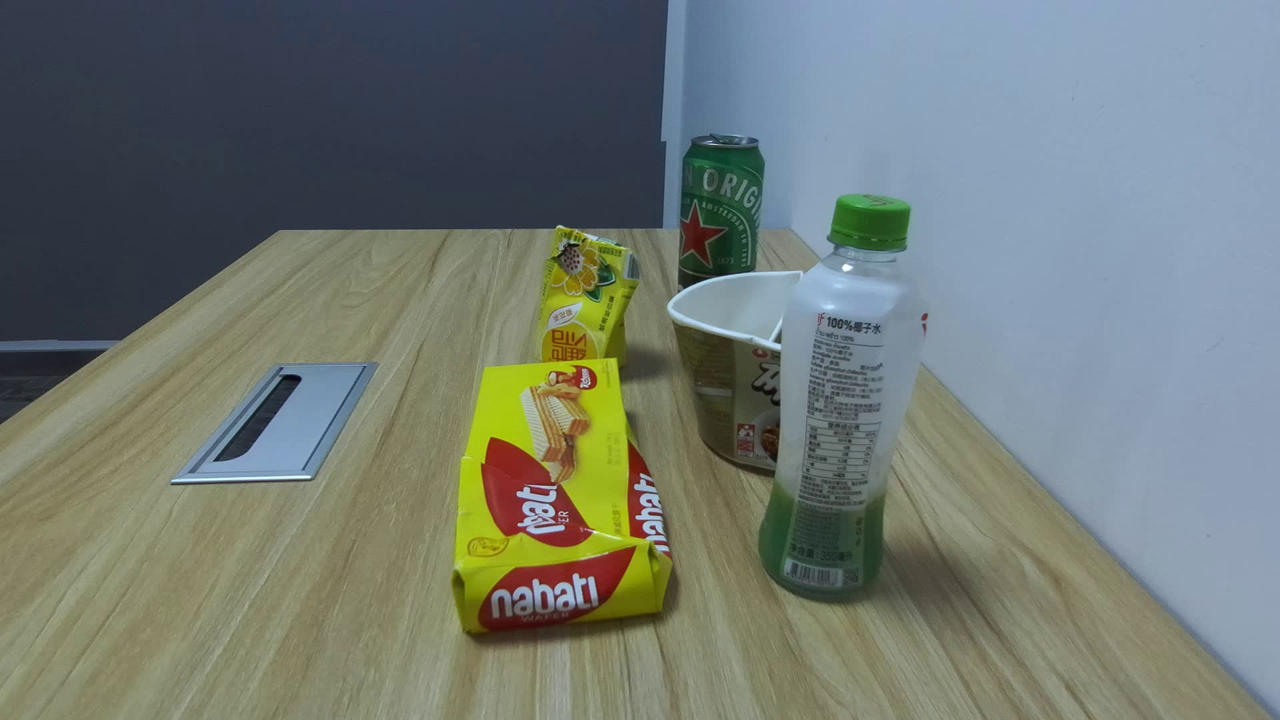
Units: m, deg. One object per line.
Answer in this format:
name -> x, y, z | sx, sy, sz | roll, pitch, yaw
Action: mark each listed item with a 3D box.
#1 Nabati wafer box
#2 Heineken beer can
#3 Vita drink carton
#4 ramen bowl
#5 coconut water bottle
Nabati wafer box -> -0.045, 0.065, 0.407 | 0.107, 0.042, 0.203 | -4, 27, -6
Heineken beer can -> 0.067, -0.094, 0.589 | 0.067, 0.169, 0.067 | 0, 20, 0
Vita drink carton -> -0.039, -0.046, 0.555 | 0.086, 0.108, 0.042 | 19, 16, 26
ramen bowl -> 0.088, 0.005, 0.464 | 0.137, 0.098, 0.137 | 1, 25, 0
coconut water bottle -> 0.099, 0.021, 0.337 | 0.069, 0.186, 0.069 | 4, 19, -1
